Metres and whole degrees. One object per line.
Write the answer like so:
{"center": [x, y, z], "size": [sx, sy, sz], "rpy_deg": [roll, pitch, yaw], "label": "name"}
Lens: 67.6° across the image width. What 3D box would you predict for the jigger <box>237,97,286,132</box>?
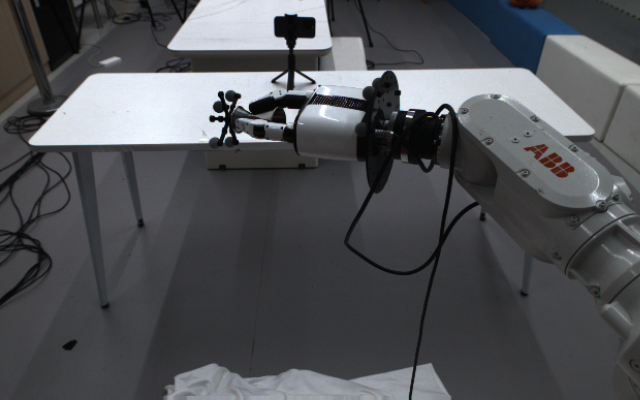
{"center": [-0.084, -0.117, 0.696], "size": [0.071, 0.043, 0.043], "rpy_deg": [7, 34, 23], "label": "jigger"}
